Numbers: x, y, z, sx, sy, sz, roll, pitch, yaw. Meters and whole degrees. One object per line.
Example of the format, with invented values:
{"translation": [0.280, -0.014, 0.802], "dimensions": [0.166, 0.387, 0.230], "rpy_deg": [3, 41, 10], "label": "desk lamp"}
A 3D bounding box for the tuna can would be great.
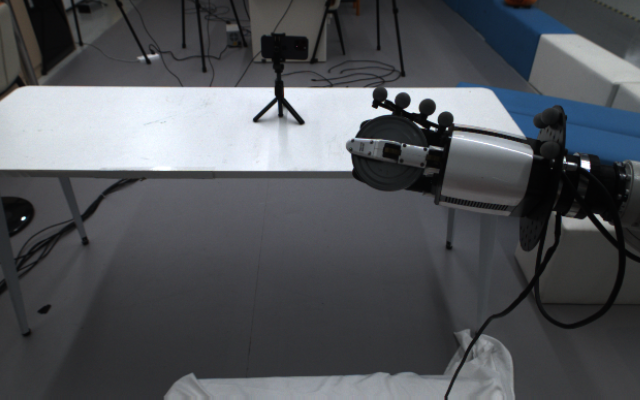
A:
{"translation": [0.083, -0.054, 0.555], "dimensions": [0.085, 0.085, 0.034], "rpy_deg": [13, 3, 16], "label": "tuna can"}
